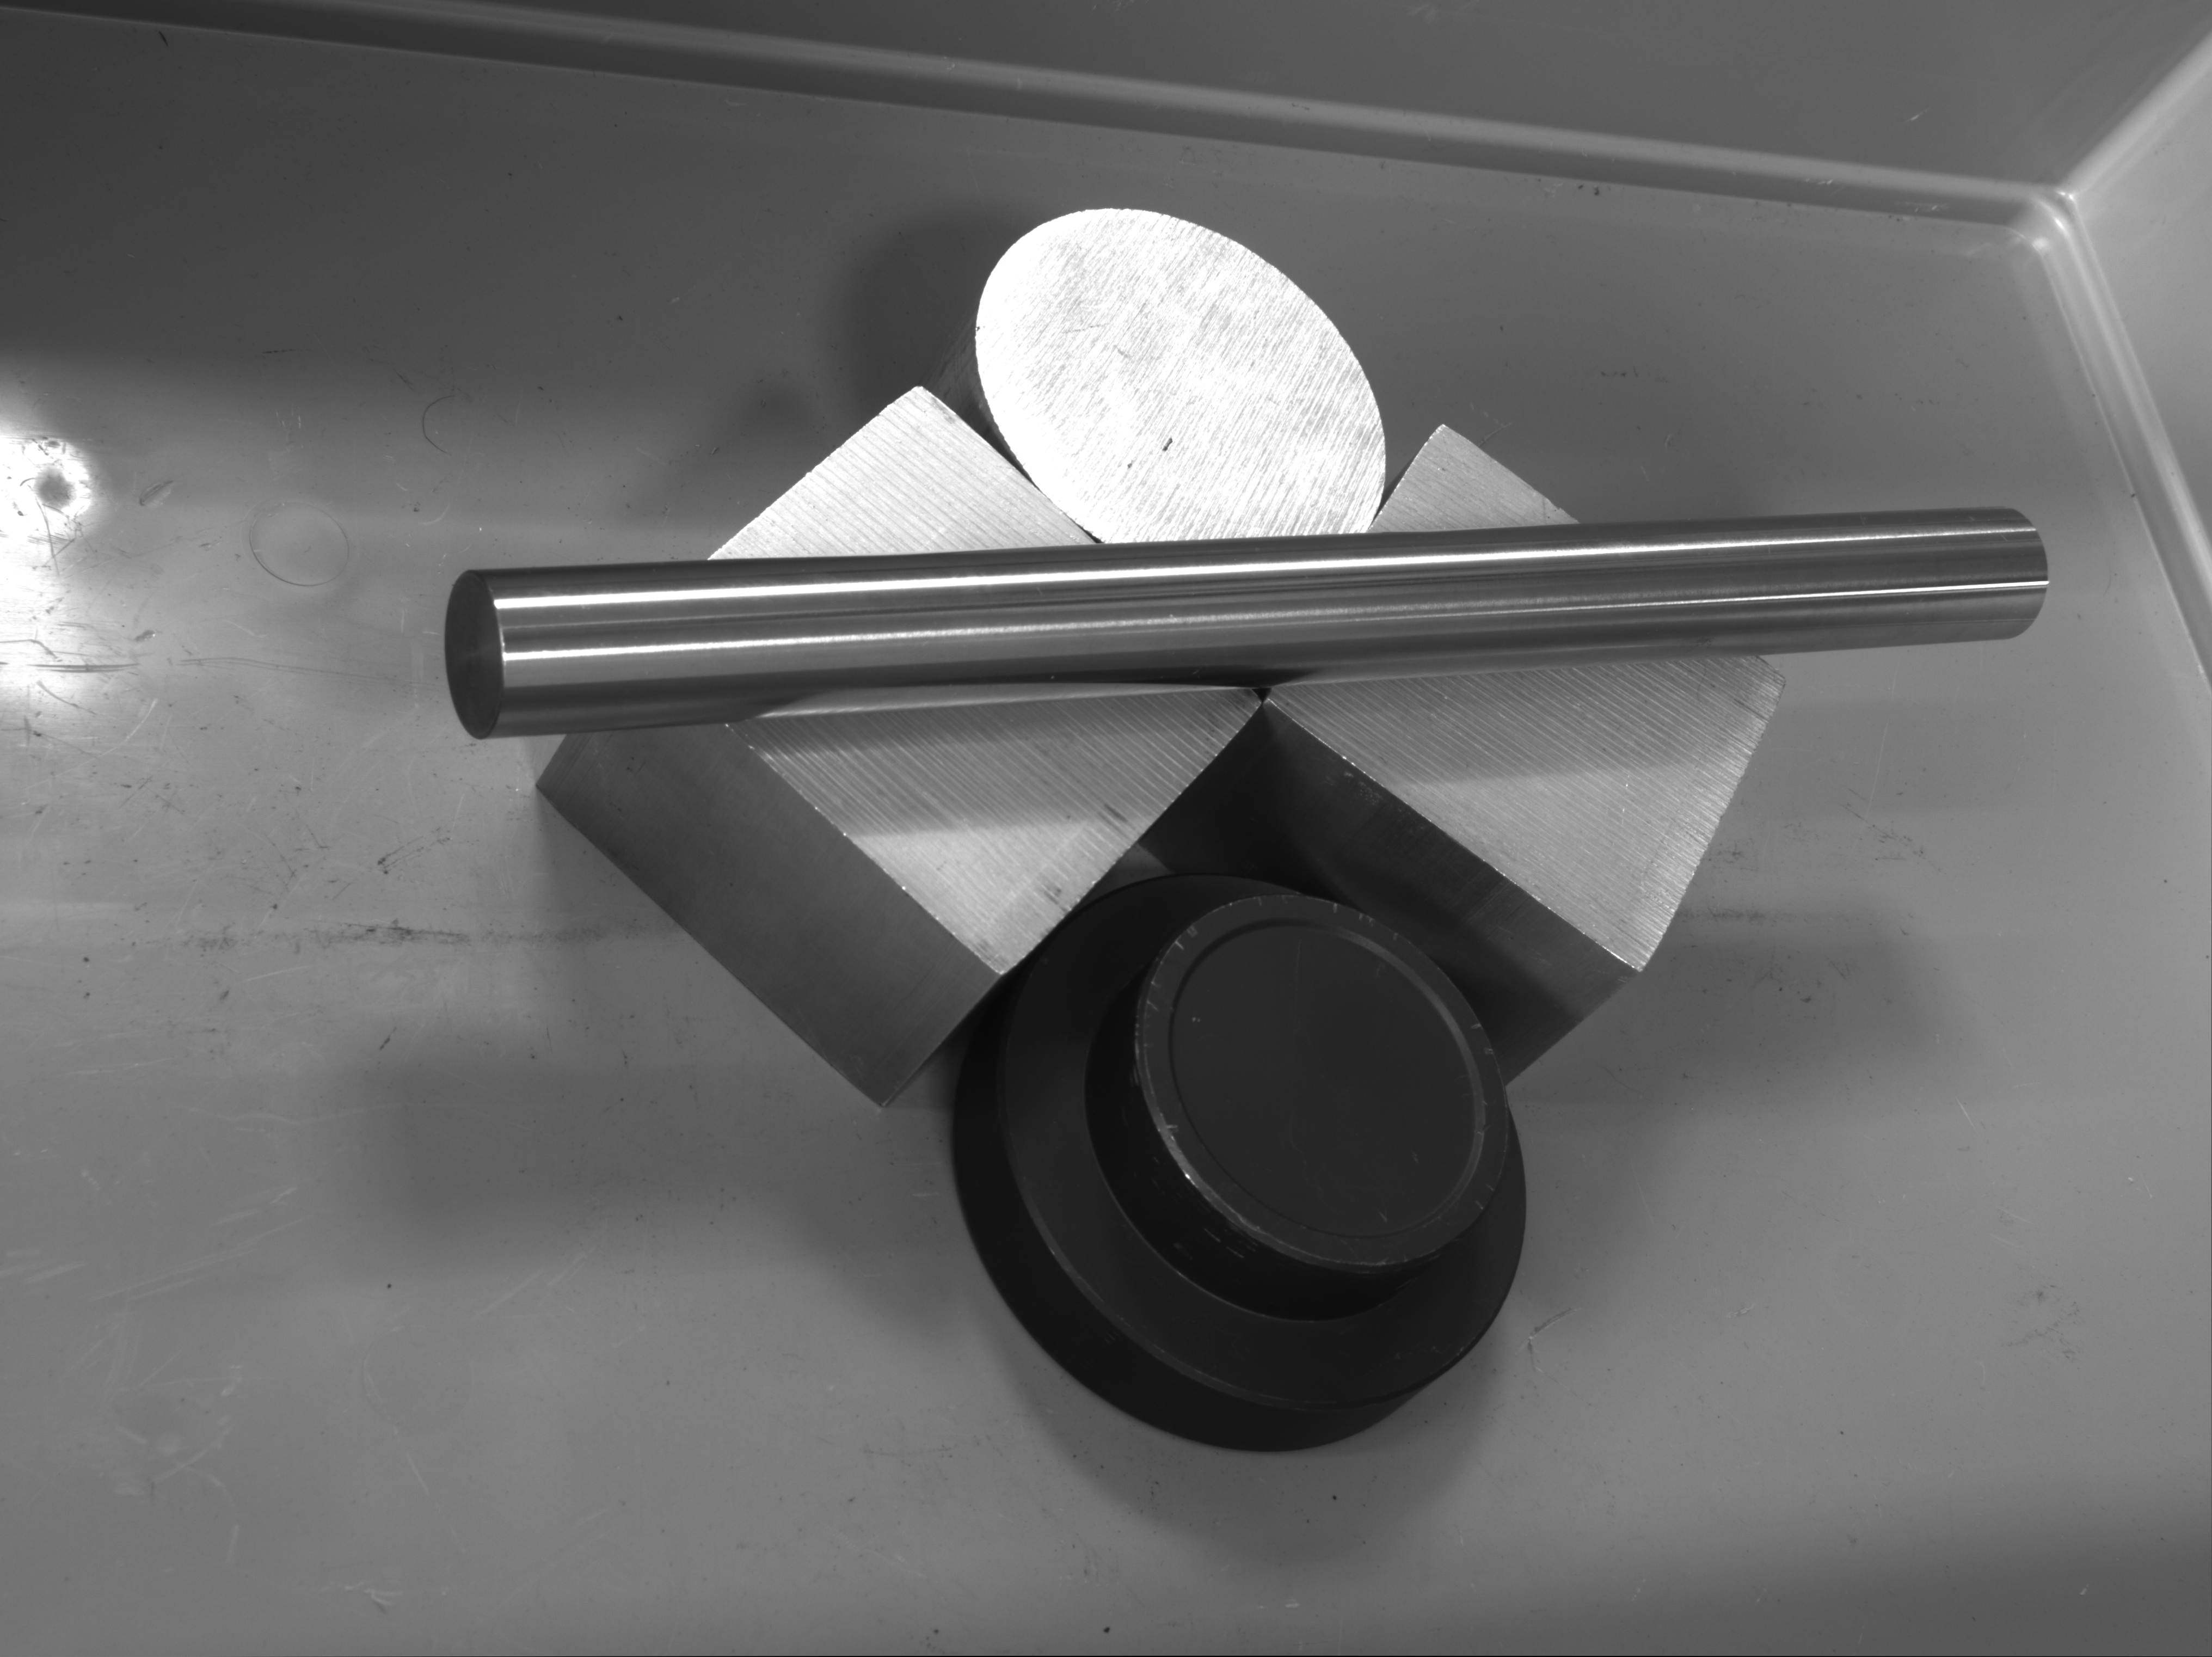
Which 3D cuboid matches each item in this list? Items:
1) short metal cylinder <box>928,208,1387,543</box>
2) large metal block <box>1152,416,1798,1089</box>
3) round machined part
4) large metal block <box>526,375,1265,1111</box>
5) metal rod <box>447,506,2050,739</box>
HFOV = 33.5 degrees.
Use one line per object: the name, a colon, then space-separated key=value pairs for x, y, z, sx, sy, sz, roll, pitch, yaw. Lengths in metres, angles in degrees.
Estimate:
short metal cylinder: x=0.004 y=-0.064 z=0.663 sx=0.080 sy=0.050 sz=0.080 roll=13 pitch=56 yaw=-21
large metal block: x=0.066 y=-0.013 z=0.662 sx=0.080 sy=0.050 sz=0.080 roll=36 pitch=52 yaw=-4
round machined part: x=0.028 y=0.050 z=0.611 sx=0.098 sy=0.042 sz=0.098 roll=13 pitch=56 yaw=-21
large metal block: x=-0.035 y=-0.015 z=0.612 sx=0.080 sy=0.050 sz=0.080 roll=44 pitch=51 yaw=0
metal rod: x=0.038 y=-0.037 z=0.614 sx=0.301 sy=0.025 sz=0.025 roll=-5 pitch=64 yaw=-30
